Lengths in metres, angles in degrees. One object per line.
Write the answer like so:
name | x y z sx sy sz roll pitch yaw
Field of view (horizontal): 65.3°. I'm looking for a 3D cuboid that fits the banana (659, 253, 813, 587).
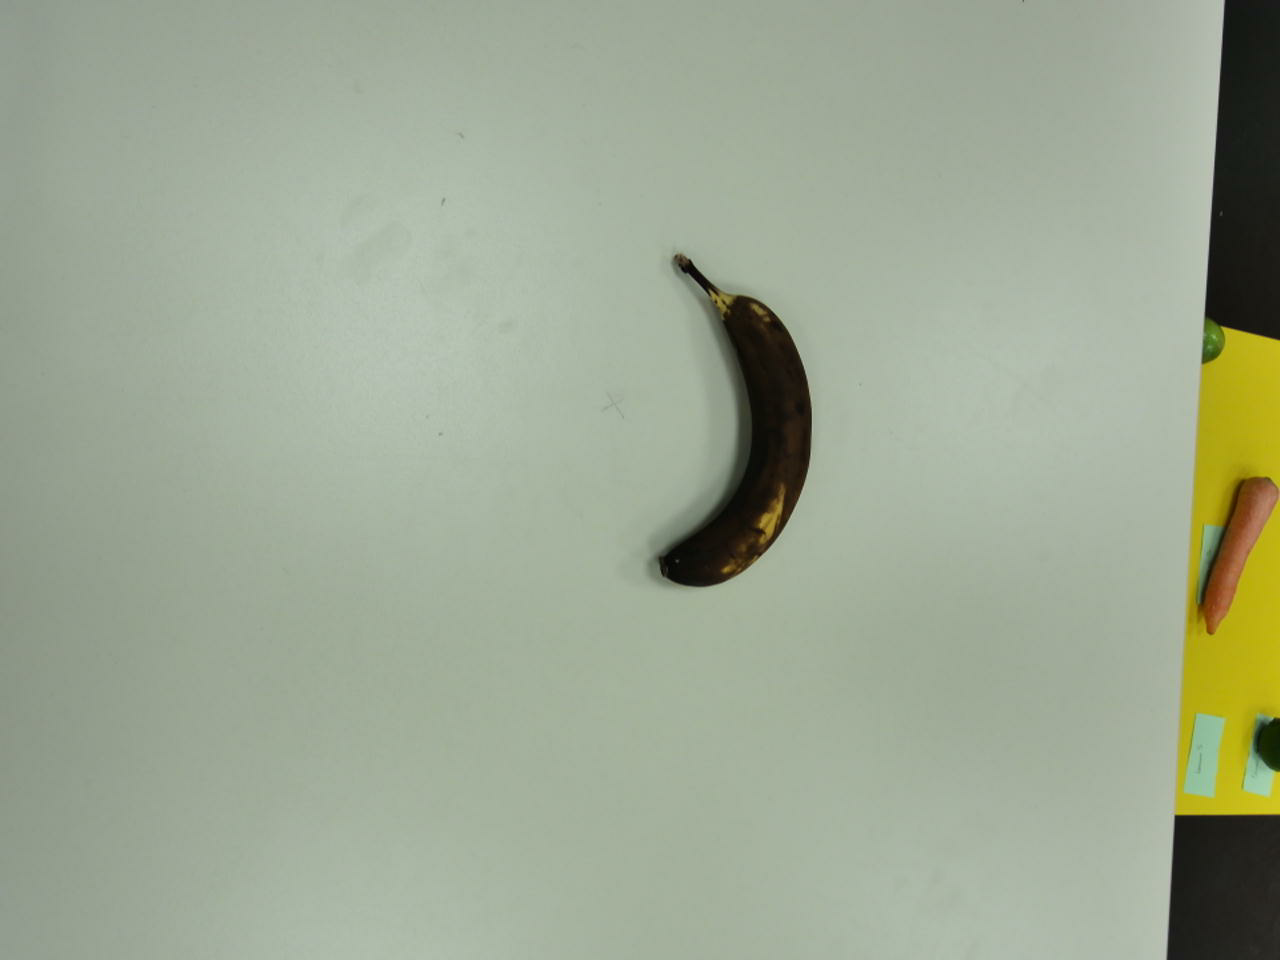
banana | 0.059 -0.031 0.575 0.091 0.034 0.188 6 88 -22
